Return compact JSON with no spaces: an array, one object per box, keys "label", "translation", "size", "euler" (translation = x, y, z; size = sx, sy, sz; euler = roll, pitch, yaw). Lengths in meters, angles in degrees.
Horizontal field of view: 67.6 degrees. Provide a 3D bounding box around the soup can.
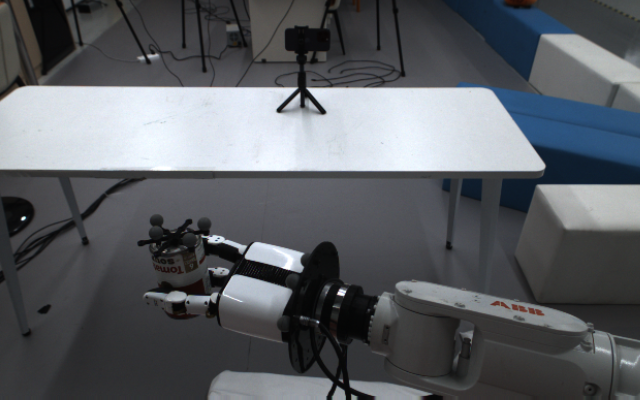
[{"label":"soup can","translation":[-0.180,0.098,0.639],"size":[0.067,0.101,0.067],"euler":[-3,26,2]}]
